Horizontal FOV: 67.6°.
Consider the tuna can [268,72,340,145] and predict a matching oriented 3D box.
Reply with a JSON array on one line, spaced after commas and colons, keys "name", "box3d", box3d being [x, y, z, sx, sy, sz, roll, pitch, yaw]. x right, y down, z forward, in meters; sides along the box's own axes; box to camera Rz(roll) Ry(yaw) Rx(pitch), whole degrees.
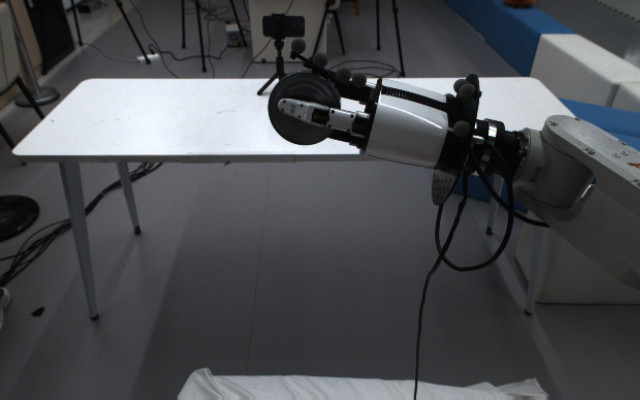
[{"name": "tuna can", "box3d": [-0.016, -0.112, 0.581, 0.085, 0.085, 0.034, 4, 20, 3]}]
